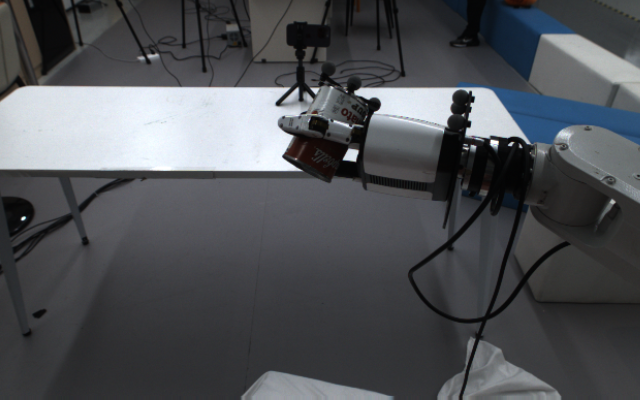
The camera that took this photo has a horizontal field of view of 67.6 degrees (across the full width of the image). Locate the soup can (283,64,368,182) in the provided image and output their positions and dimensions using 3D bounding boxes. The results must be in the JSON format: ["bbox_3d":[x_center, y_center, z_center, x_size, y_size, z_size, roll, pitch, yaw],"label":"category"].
[{"bbox_3d":[0.008,-0.081,0.589,0.067,0.101,0.067,28,-2,1],"label":"soup can"}]
